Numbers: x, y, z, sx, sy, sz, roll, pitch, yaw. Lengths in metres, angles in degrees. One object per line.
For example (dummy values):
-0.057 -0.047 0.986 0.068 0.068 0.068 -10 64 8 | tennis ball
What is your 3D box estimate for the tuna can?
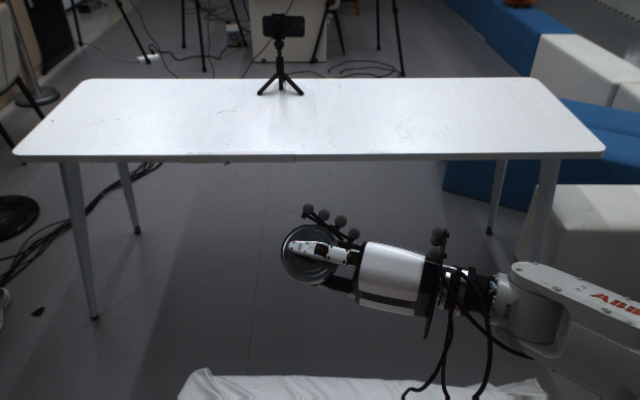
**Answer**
-0.012 0.080 0.712 0.085 0.034 0.085 -2 71 6 | tuna can
